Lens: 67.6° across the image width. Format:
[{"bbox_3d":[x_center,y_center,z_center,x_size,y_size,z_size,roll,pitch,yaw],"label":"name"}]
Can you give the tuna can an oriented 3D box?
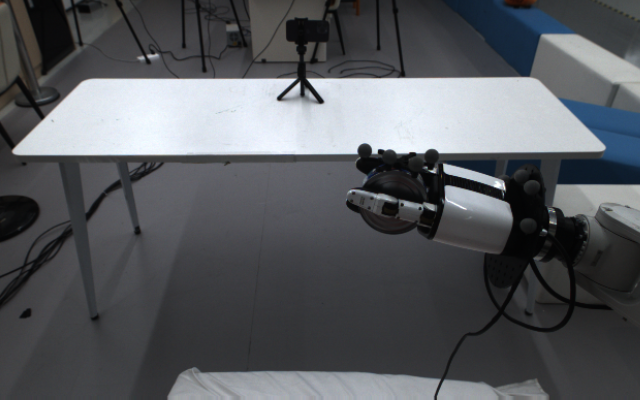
[{"bbox_3d":[0.092,-0.004,0.605,0.085,0.085,0.034,7,23,6],"label":"tuna can"}]
